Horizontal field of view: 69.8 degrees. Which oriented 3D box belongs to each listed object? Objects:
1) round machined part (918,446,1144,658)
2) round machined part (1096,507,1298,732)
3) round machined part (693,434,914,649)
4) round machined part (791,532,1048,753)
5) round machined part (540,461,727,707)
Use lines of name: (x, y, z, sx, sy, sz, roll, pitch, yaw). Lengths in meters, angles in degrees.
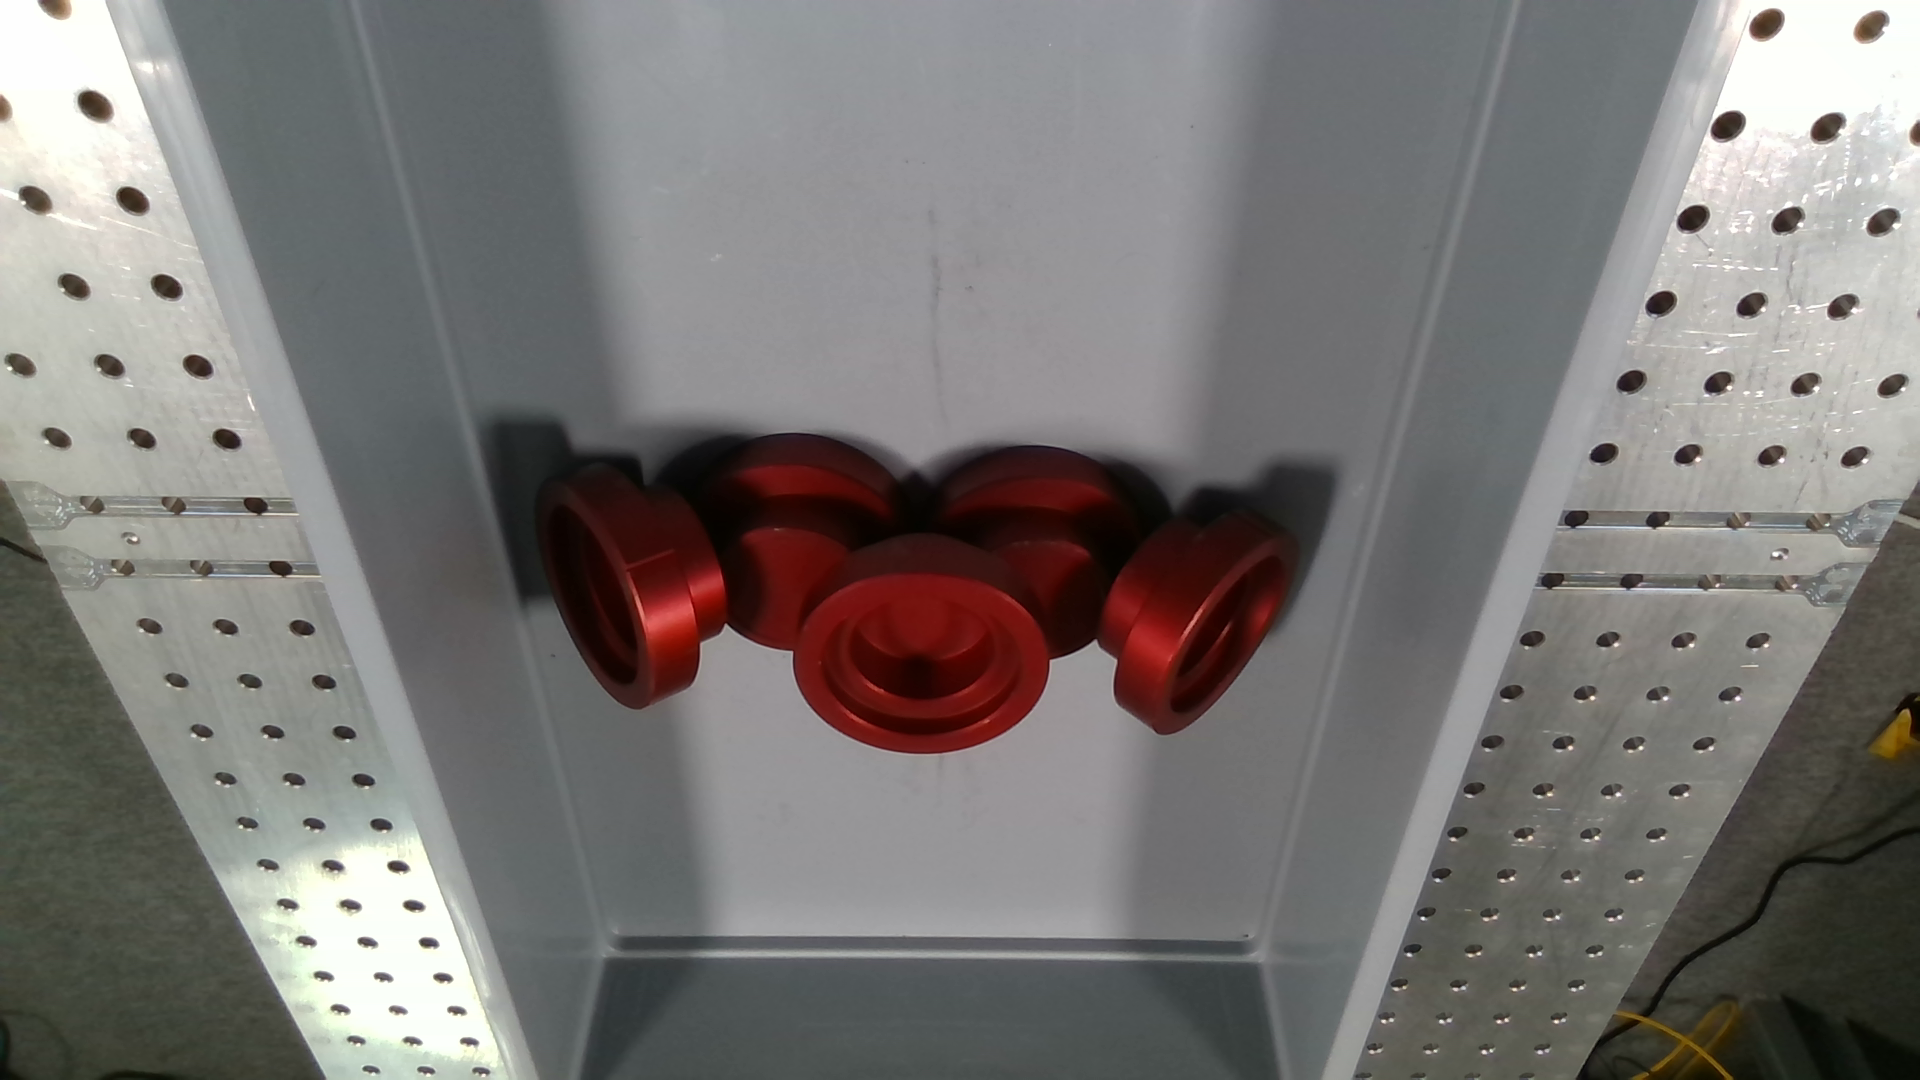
round machined part: (0.030, 0.012, 0.576, 0.098, 0.042, 0.098, 0, 130, 0)
round machined part: (0.093, 0.028, 0.566, 0.042, 0.098, 0.098, 35, 136, 27)
round machined part: (-0.068, 0.007, 0.572, 0.098, 0.042, 0.098, 0, 130, 0)
round machined part: (-0.015, 0.036, 0.541, 0.098, 0.042, 0.098, 0, 130, 0)
round machined part: (-0.129, 0.015, 0.555, 0.042, 0.098, 0.098, -23, 139, -32)
